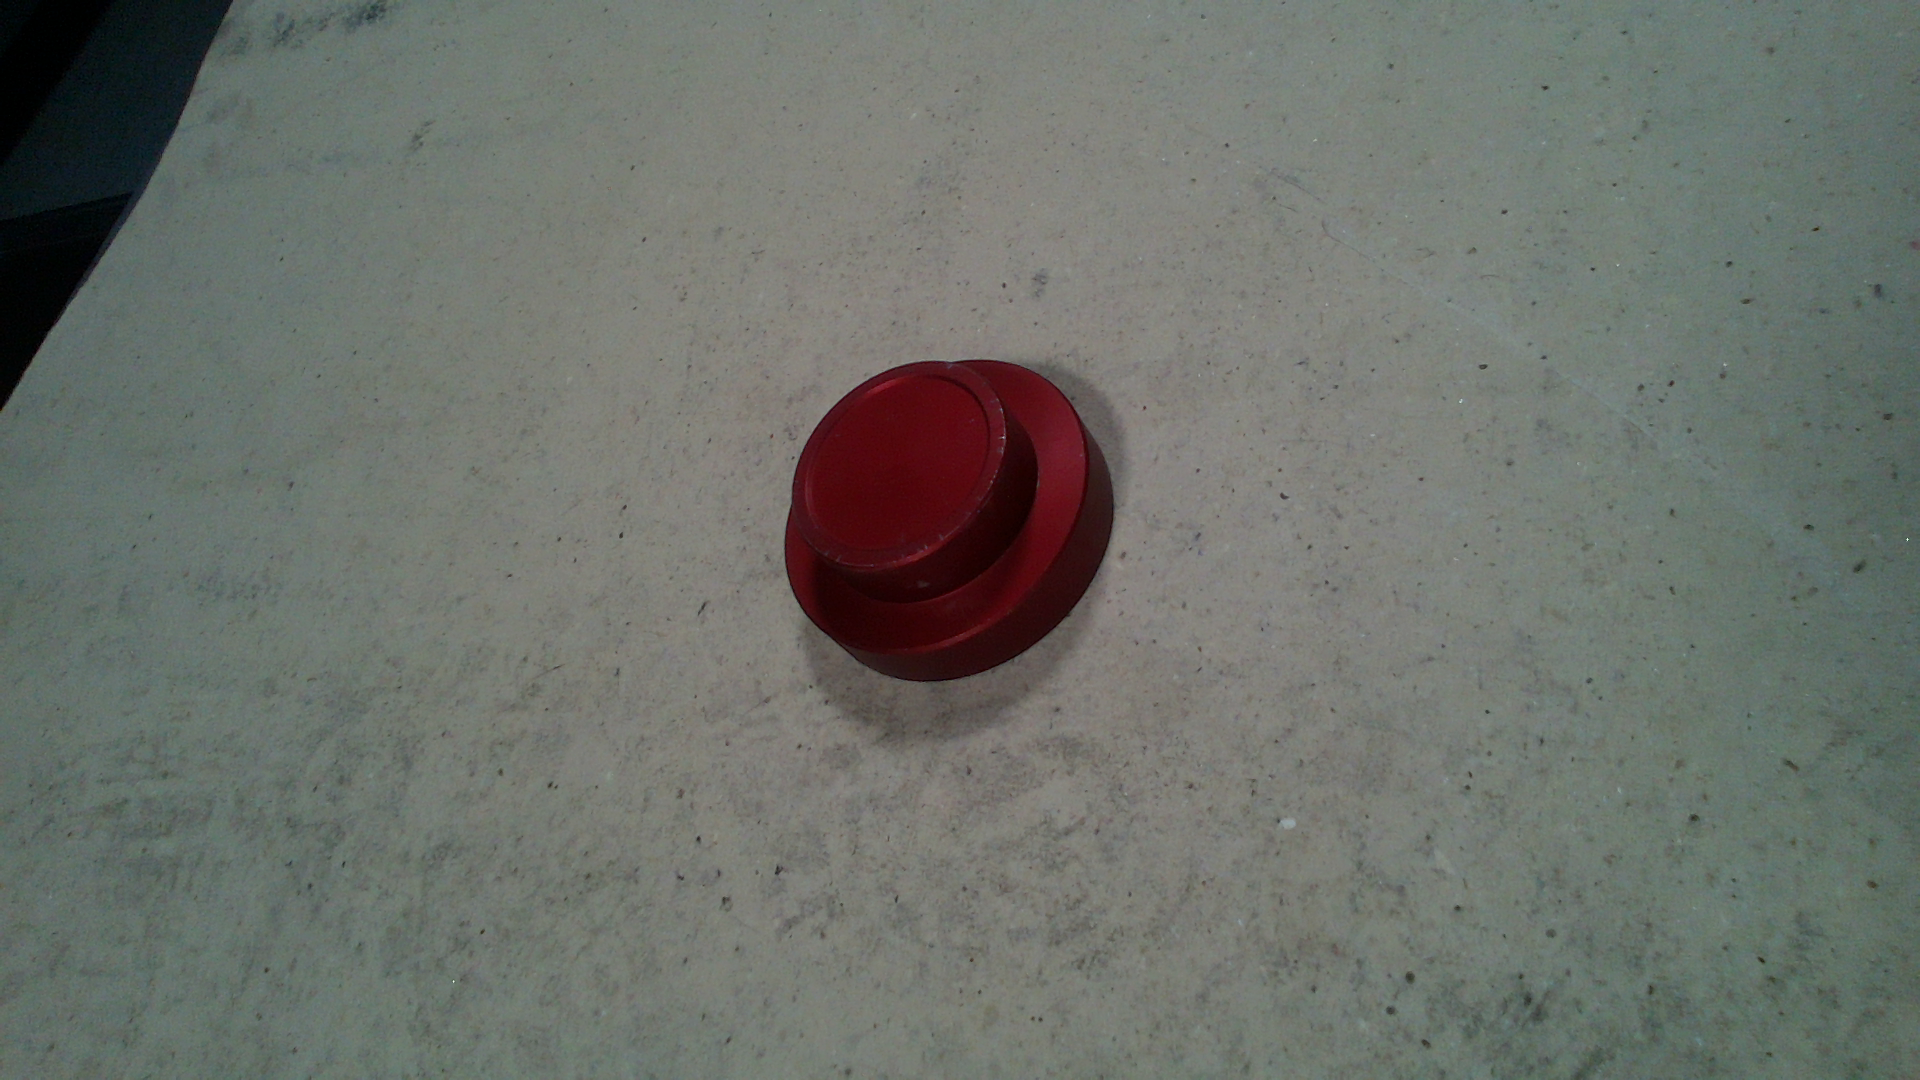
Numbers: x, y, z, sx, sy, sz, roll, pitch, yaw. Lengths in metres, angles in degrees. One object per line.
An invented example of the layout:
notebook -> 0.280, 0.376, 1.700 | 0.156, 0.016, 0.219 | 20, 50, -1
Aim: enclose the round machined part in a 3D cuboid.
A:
round machined part -> -0.009, -0.012, 0.395 | 0.098, 0.042, 0.098 | -13, 56, 21
